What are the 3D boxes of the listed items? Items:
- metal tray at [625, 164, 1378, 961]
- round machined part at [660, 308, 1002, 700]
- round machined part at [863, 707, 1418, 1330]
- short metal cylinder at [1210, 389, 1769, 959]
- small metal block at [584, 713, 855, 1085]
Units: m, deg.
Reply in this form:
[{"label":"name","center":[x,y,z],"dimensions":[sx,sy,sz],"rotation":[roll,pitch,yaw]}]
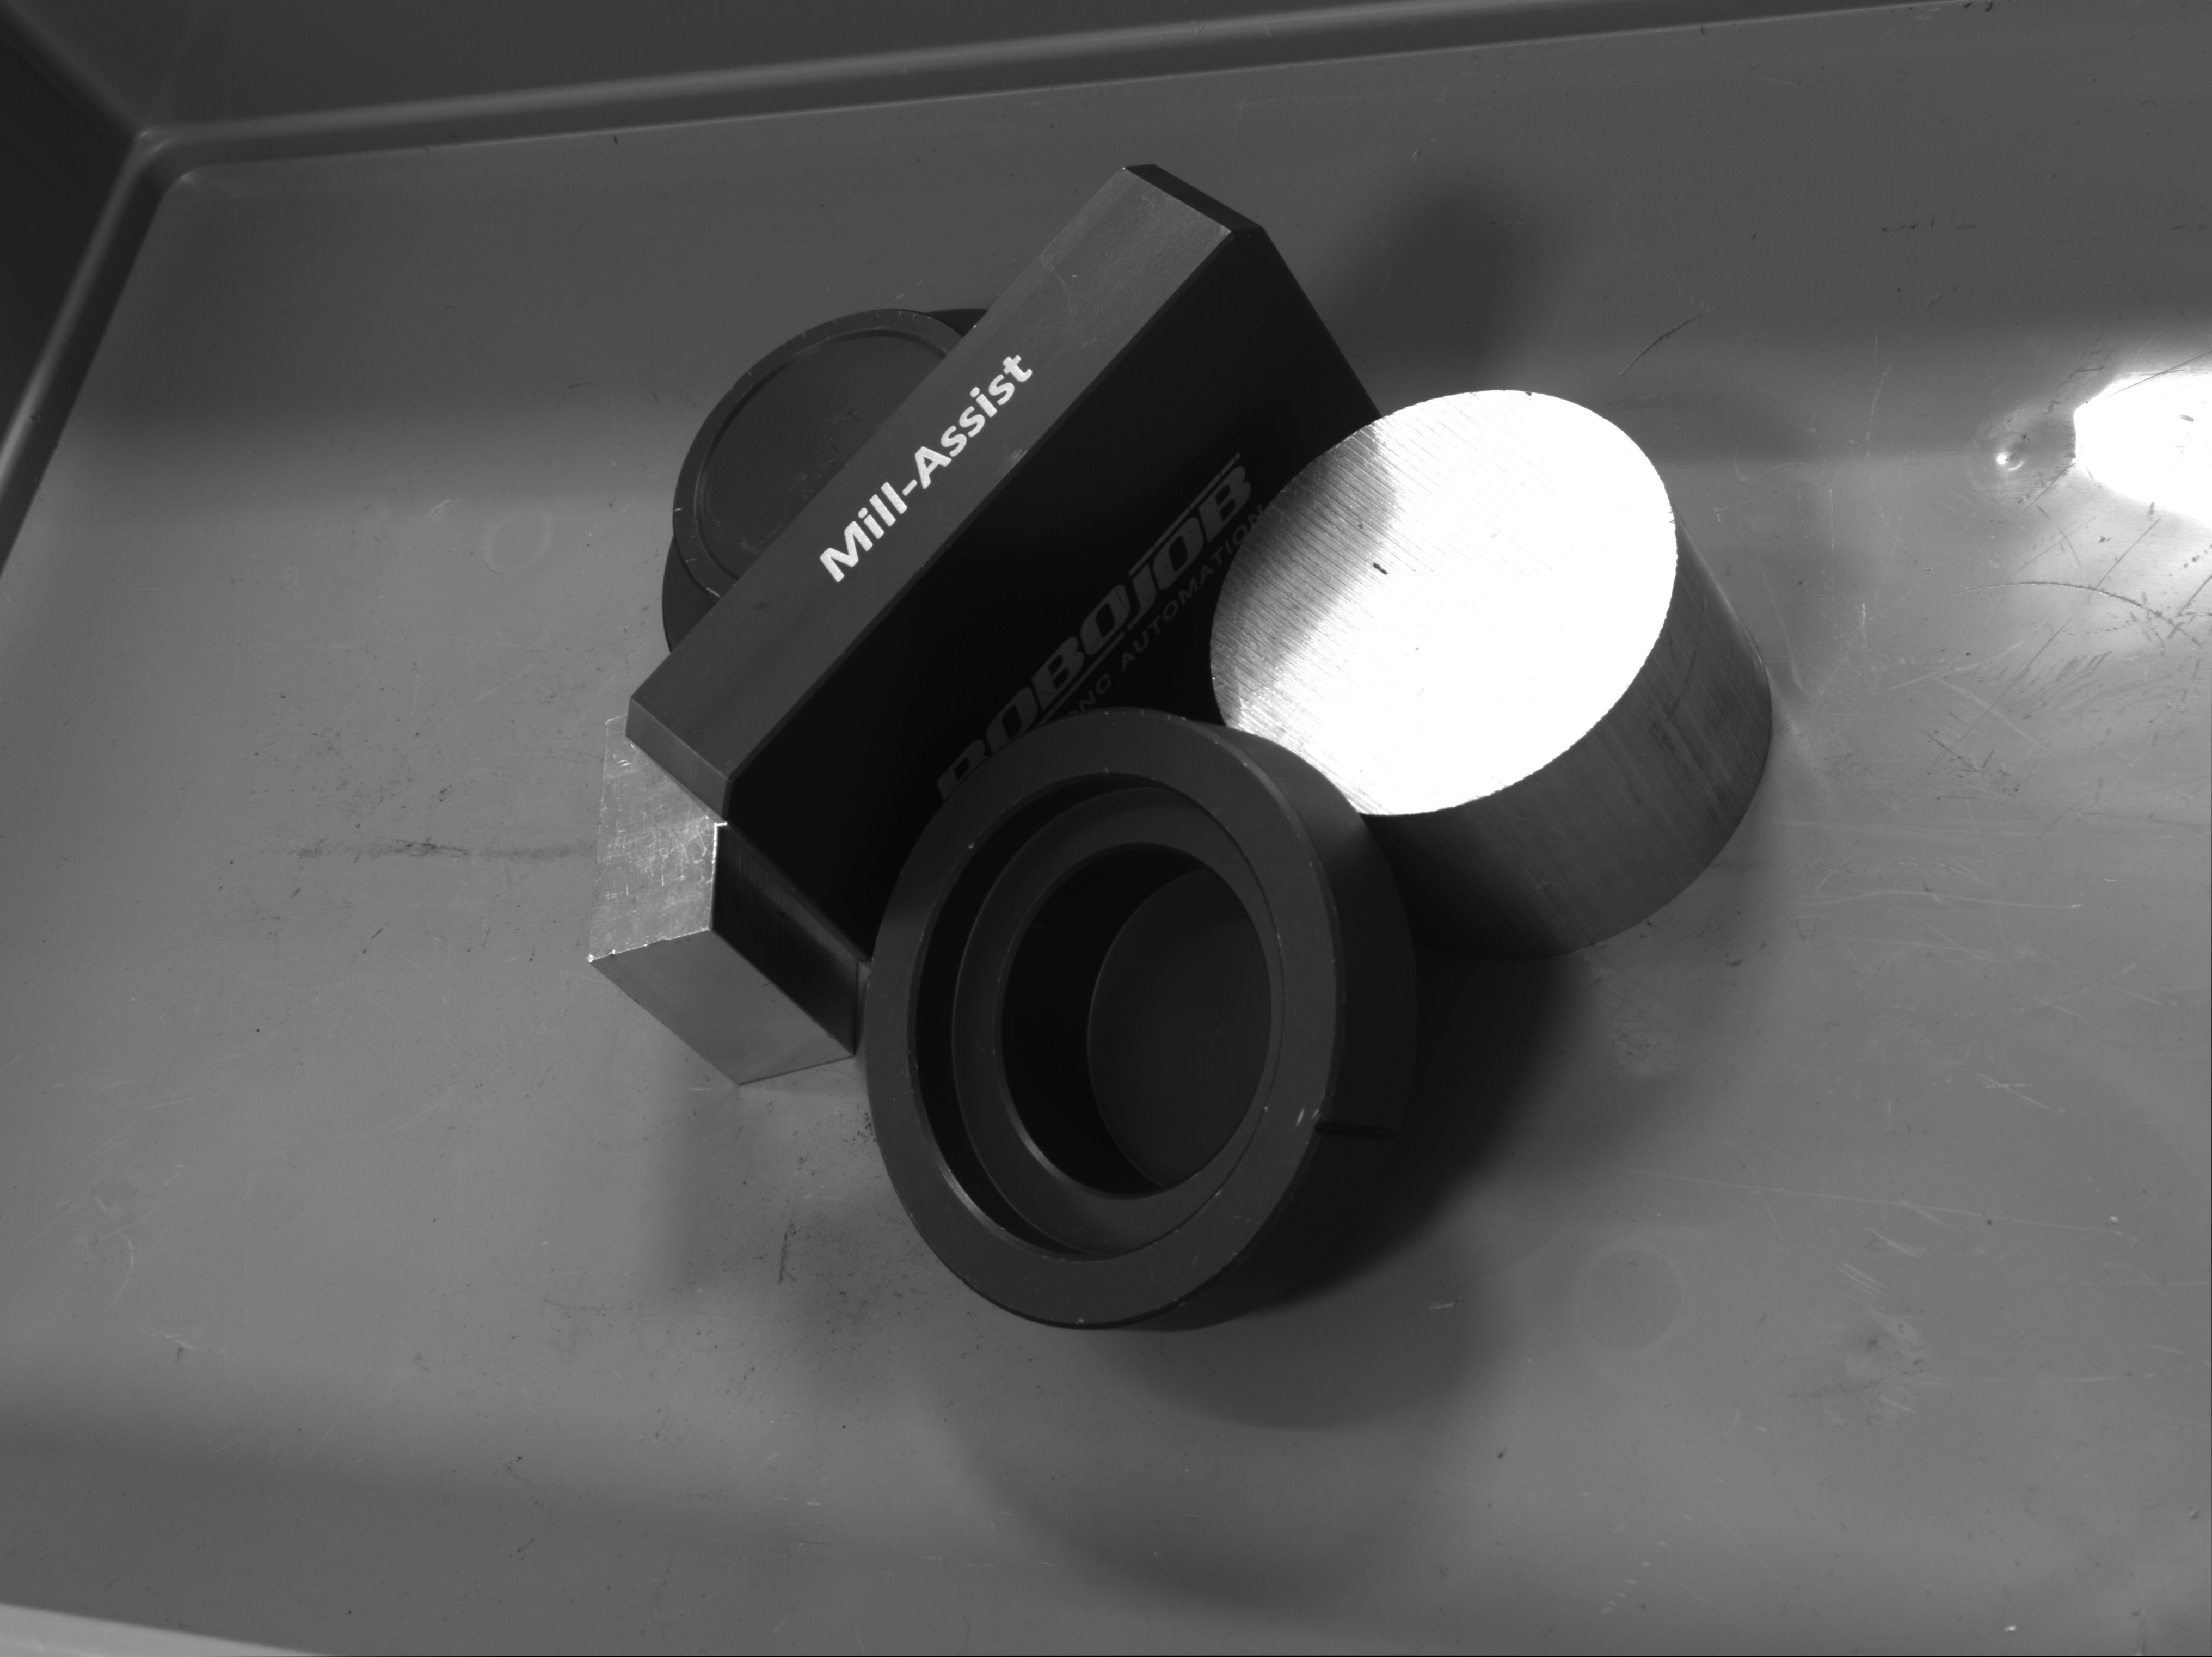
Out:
[{"label":"metal tray","center":[-0.010,-0.037,0.630],"dimensions":[0.130,0.090,0.030],"rotation":[-48,51,-6]},{"label":"round machined part","center":[-0.042,-0.058,0.691],"dimensions":[0.098,0.042,0.098],"rotation":[-14,56,21]},{"label":"round machined part","center":[0.010,0.032,0.593],"dimensions":[0.098,0.042,0.098],"rotation":[-7,78,38]},{"label":"short metal cylinder","center":[0.064,-0.025,0.609],"dimensions":[0.080,0.050,0.080],"rotation":[-14,56,21]},{"label":"small metal block","center":[-0.068,0.011,0.657],"dimensions":[0.025,0.050,0.050],"rotation":[-14,56,21]}]
